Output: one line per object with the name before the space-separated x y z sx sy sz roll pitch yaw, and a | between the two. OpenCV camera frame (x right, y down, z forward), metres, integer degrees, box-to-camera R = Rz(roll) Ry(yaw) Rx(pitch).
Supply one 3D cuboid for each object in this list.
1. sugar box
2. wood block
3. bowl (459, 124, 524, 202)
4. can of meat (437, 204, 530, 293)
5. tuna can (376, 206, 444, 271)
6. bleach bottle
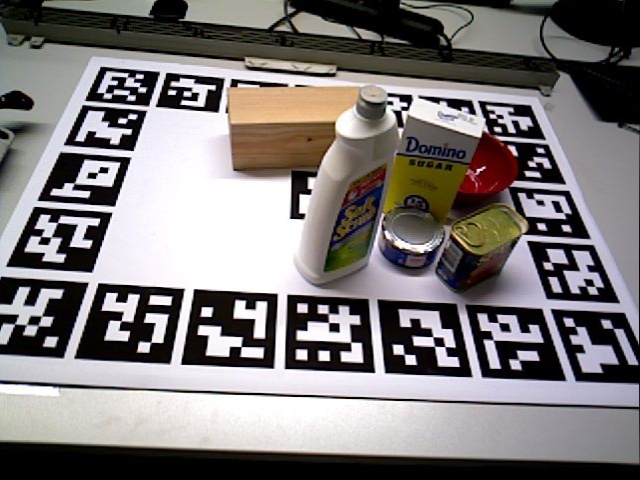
sugar box | 0.145 -0.094 0.695 0.093 0.180 0.044 18 51 12
wood block | -0.039 -0.169 0.802 0.204 0.092 0.090 -3 54 -11
bowl | 0.215 -0.108 0.801 0.161 0.056 0.159 1 49 -2
can of meat | 0.202 0.011 0.683 0.100 0.086 0.057 -20 52 -25
tuna can | 0.115 -0.002 0.708 0.085 0.034 0.084 3 52 -4
bleach bottle | 0.028 -0.061 0.606 0.101 0.257 0.067 -17 52 -21
